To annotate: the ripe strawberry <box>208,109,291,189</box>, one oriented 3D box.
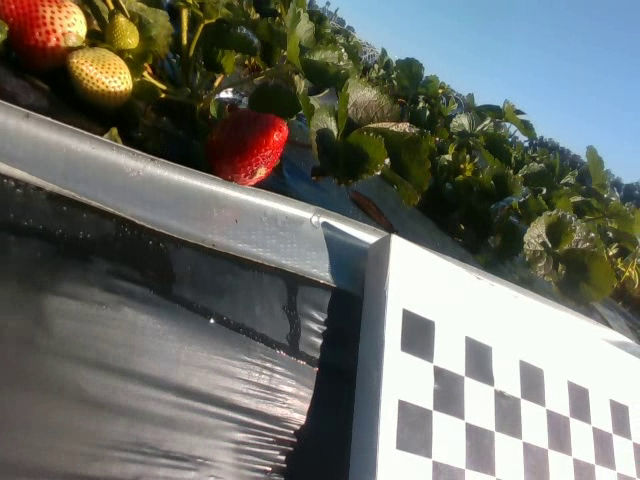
[{"bbox_3d":[-0.027,-0.039,0.238,0.036,0.038,0.045,21,-17,-26],"label":"ripe strawberry"}]
